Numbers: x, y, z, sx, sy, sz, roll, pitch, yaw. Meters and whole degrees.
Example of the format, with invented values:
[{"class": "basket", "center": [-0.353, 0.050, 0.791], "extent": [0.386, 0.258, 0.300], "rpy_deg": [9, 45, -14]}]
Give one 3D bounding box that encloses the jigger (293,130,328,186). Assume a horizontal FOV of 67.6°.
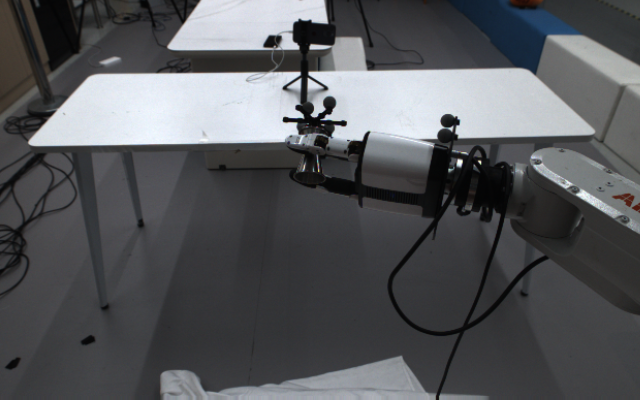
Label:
[{"class": "jigger", "center": [-0.013, -0.061, 0.659], "extent": [0.043, 0.043, 0.071], "rpy_deg": [4, 71, 3]}]
